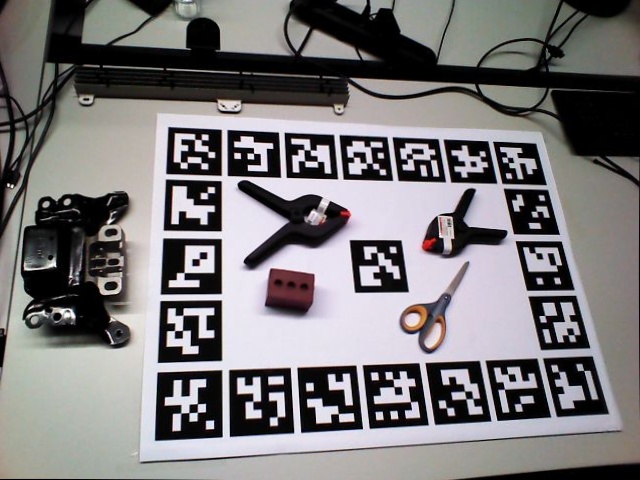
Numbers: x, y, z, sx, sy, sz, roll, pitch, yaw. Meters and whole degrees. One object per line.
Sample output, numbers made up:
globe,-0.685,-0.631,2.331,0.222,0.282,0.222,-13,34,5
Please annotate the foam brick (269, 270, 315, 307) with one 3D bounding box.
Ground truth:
foam brick,-0.046,0.079,0.876,0.078,0.051,0.052,7,69,-4

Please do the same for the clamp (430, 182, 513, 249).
clamp,0.281,-0.032,0.996,0.164,0.037,0.121,-27,84,-19

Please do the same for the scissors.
scissors,0.228,0.104,0.935,0.088,0.016,0.201,40,65,-3

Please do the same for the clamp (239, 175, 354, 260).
clamp,-0.038,-0.046,0.932,0.202,0.037,0.164,-3,67,-13
